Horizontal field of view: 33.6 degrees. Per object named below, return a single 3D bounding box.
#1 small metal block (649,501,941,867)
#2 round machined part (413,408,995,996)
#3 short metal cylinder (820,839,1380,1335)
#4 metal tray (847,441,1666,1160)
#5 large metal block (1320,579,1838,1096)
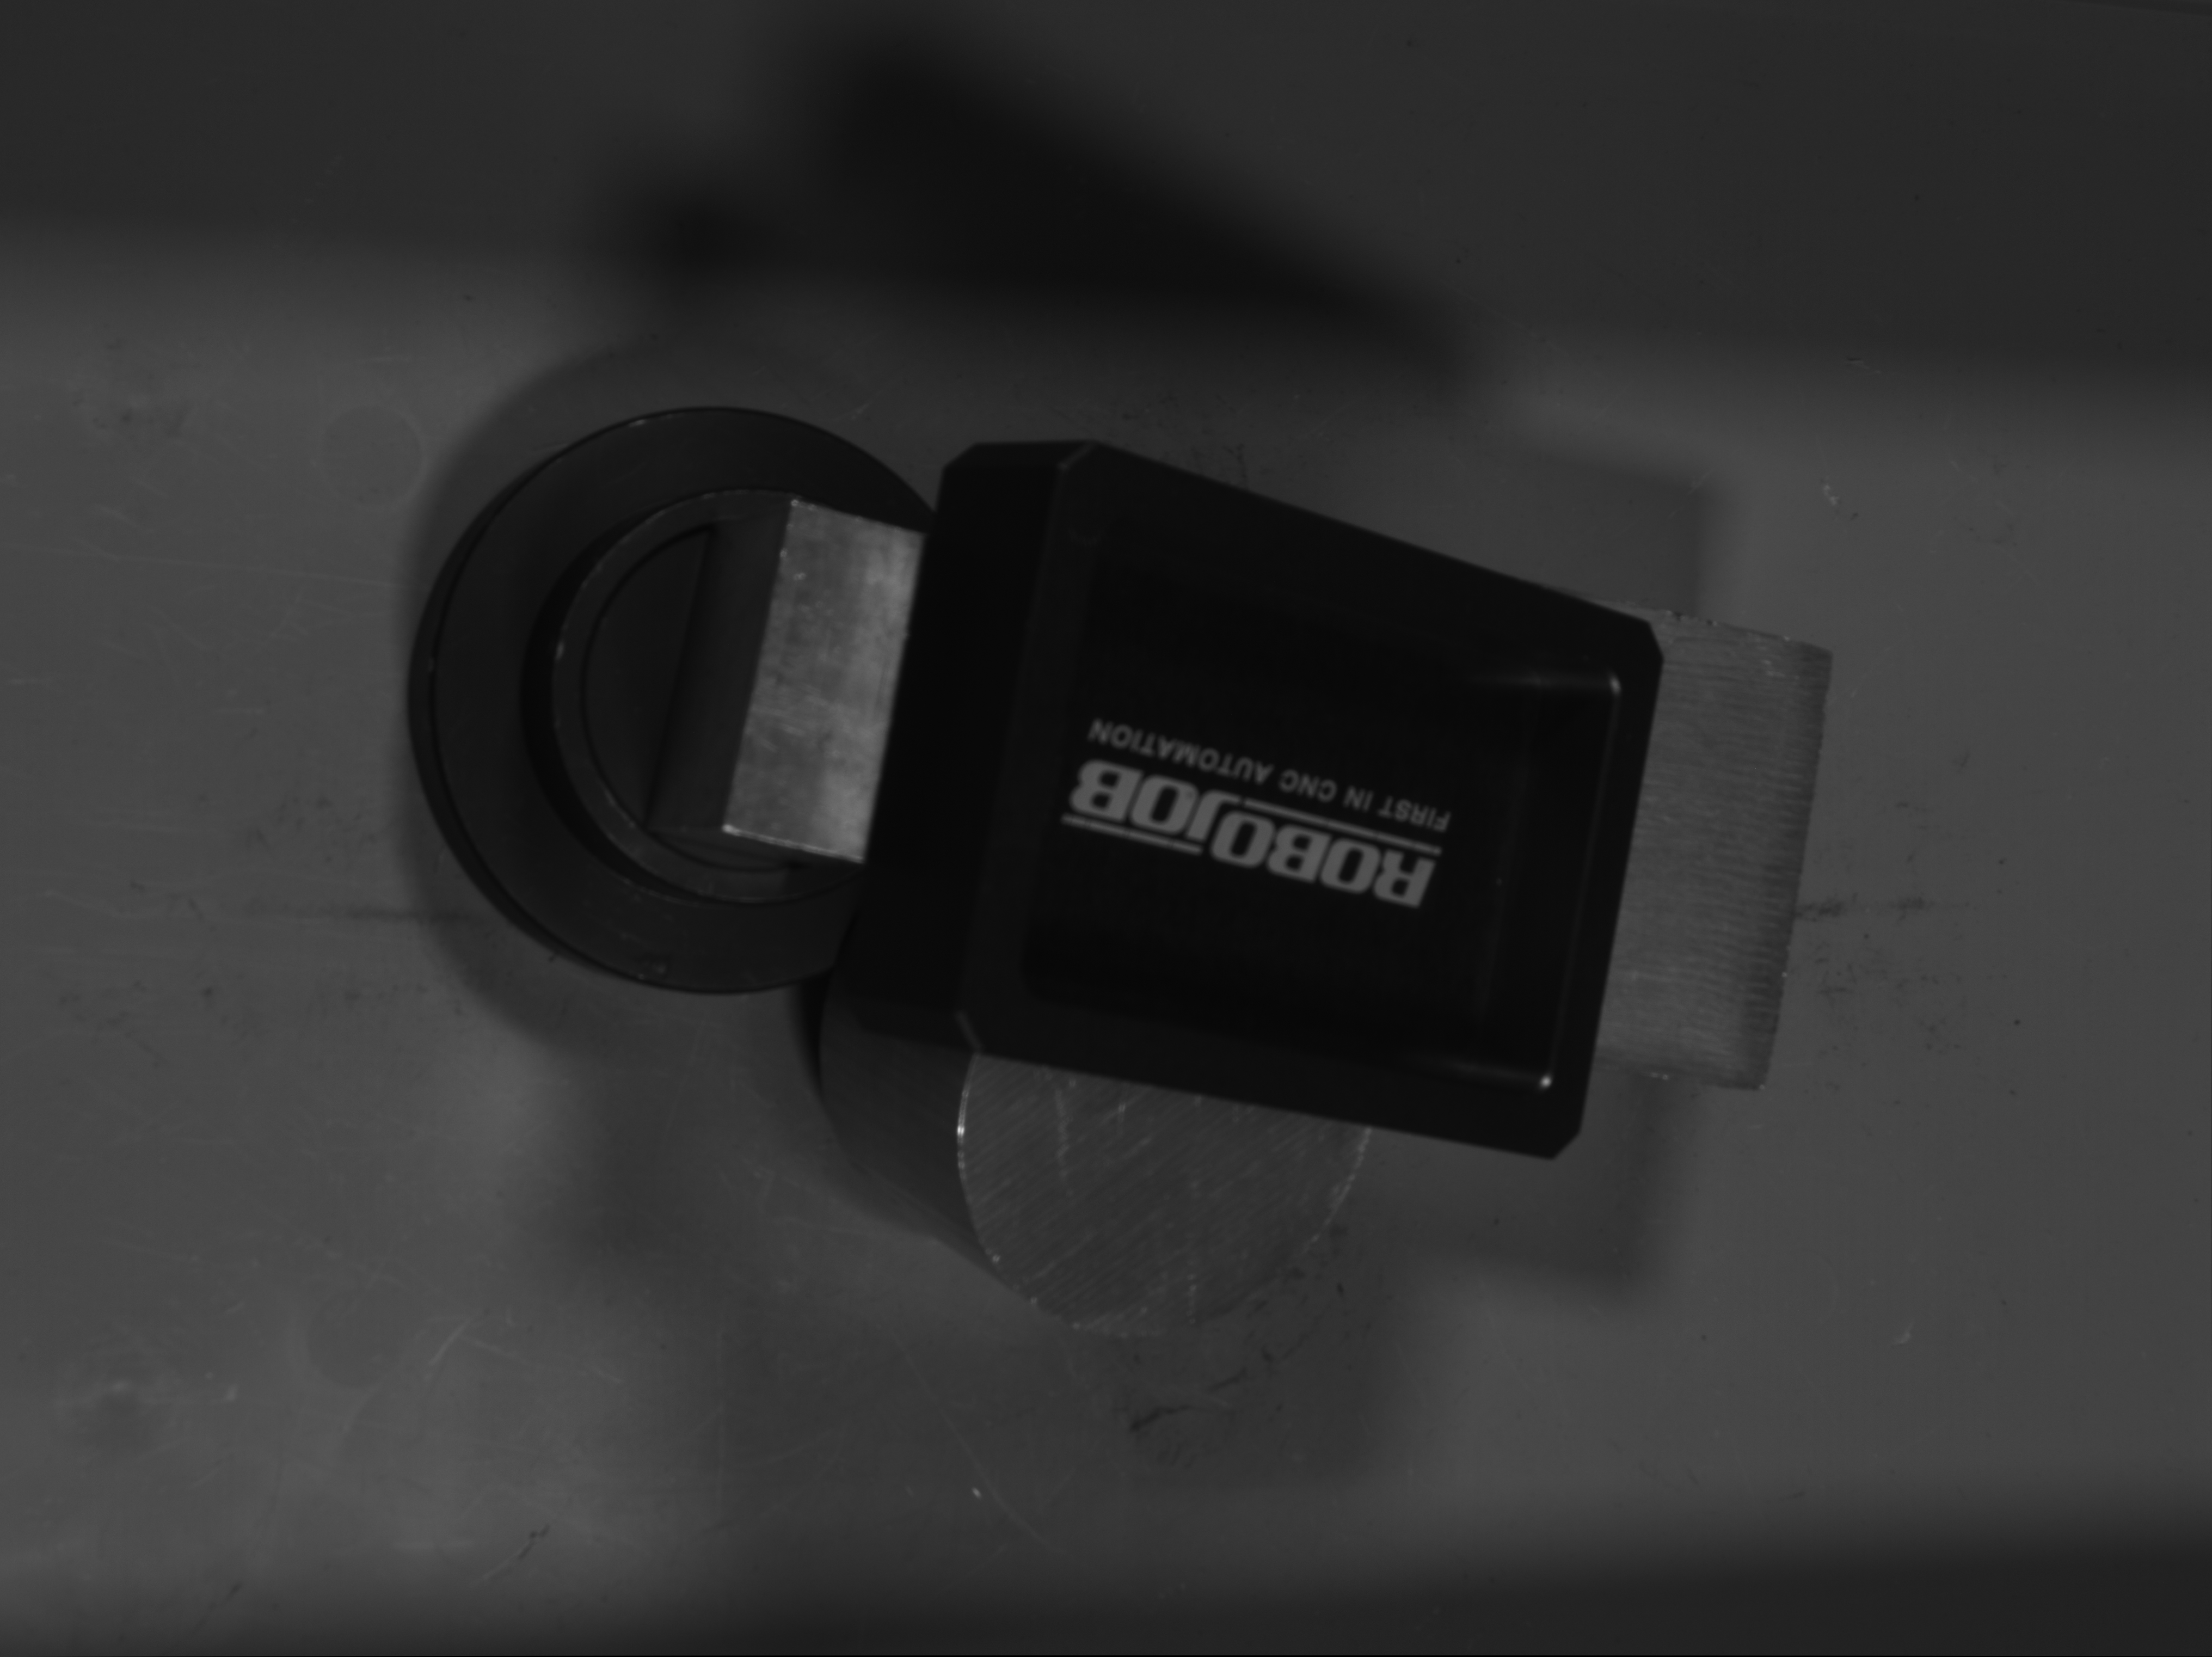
[{"bbox_3d":[-0.048,-0.021,0.567,0.025,0.050,0.050,13,85,-19],"label":"small metal block"},{"bbox_3d":[-0.063,-0.021,0.610,0.098,0.042,0.098,0,90,-20],"label":"round machined part"},{"bbox_3d":[-0.001,0.039,0.616,0.080,0.050,0.080,-9,107,-30],"label":"short metal cylinder"},{"bbox_3d":[0.027,-0.002,0.575,0.130,0.030,0.090,13,85,-39],"label":"metal tray"},{"bbox_3d":[0.078,0.001,0.656,0.080,0.050,0.080,11,86,-20],"label":"large metal block"}]
